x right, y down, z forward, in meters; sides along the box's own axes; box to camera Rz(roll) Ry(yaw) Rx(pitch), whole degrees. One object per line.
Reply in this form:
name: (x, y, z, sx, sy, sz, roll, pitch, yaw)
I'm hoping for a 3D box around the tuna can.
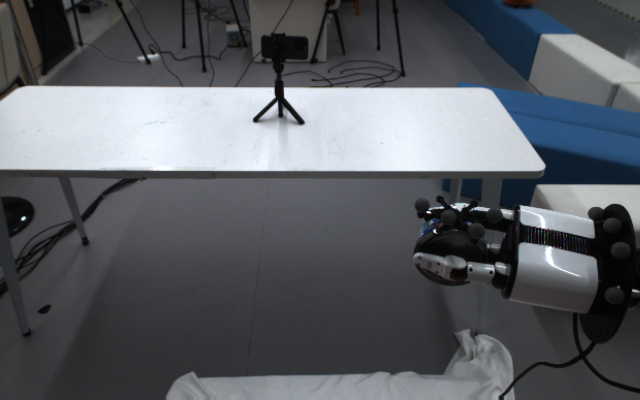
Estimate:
tuna can: (0.160, 0.057, 0.584, 0.085, 0.085, 0.034, 10, 34, 11)
